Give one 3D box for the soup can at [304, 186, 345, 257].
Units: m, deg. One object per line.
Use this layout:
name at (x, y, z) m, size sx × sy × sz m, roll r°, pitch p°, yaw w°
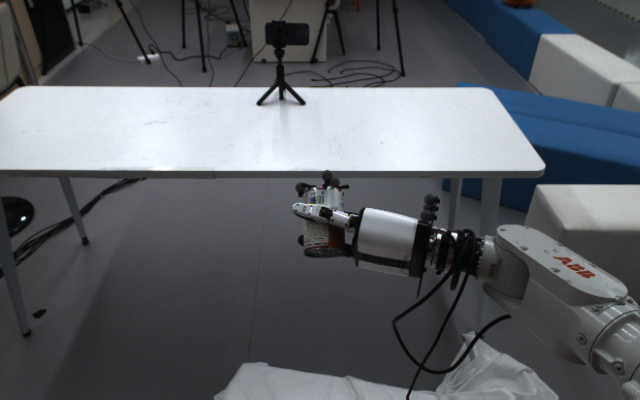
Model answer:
soup can at (0.008, 0.036, 0.771) m, size 0.067 × 0.067 × 0.101 m, roll -1°, pitch 72°, yaw -5°
